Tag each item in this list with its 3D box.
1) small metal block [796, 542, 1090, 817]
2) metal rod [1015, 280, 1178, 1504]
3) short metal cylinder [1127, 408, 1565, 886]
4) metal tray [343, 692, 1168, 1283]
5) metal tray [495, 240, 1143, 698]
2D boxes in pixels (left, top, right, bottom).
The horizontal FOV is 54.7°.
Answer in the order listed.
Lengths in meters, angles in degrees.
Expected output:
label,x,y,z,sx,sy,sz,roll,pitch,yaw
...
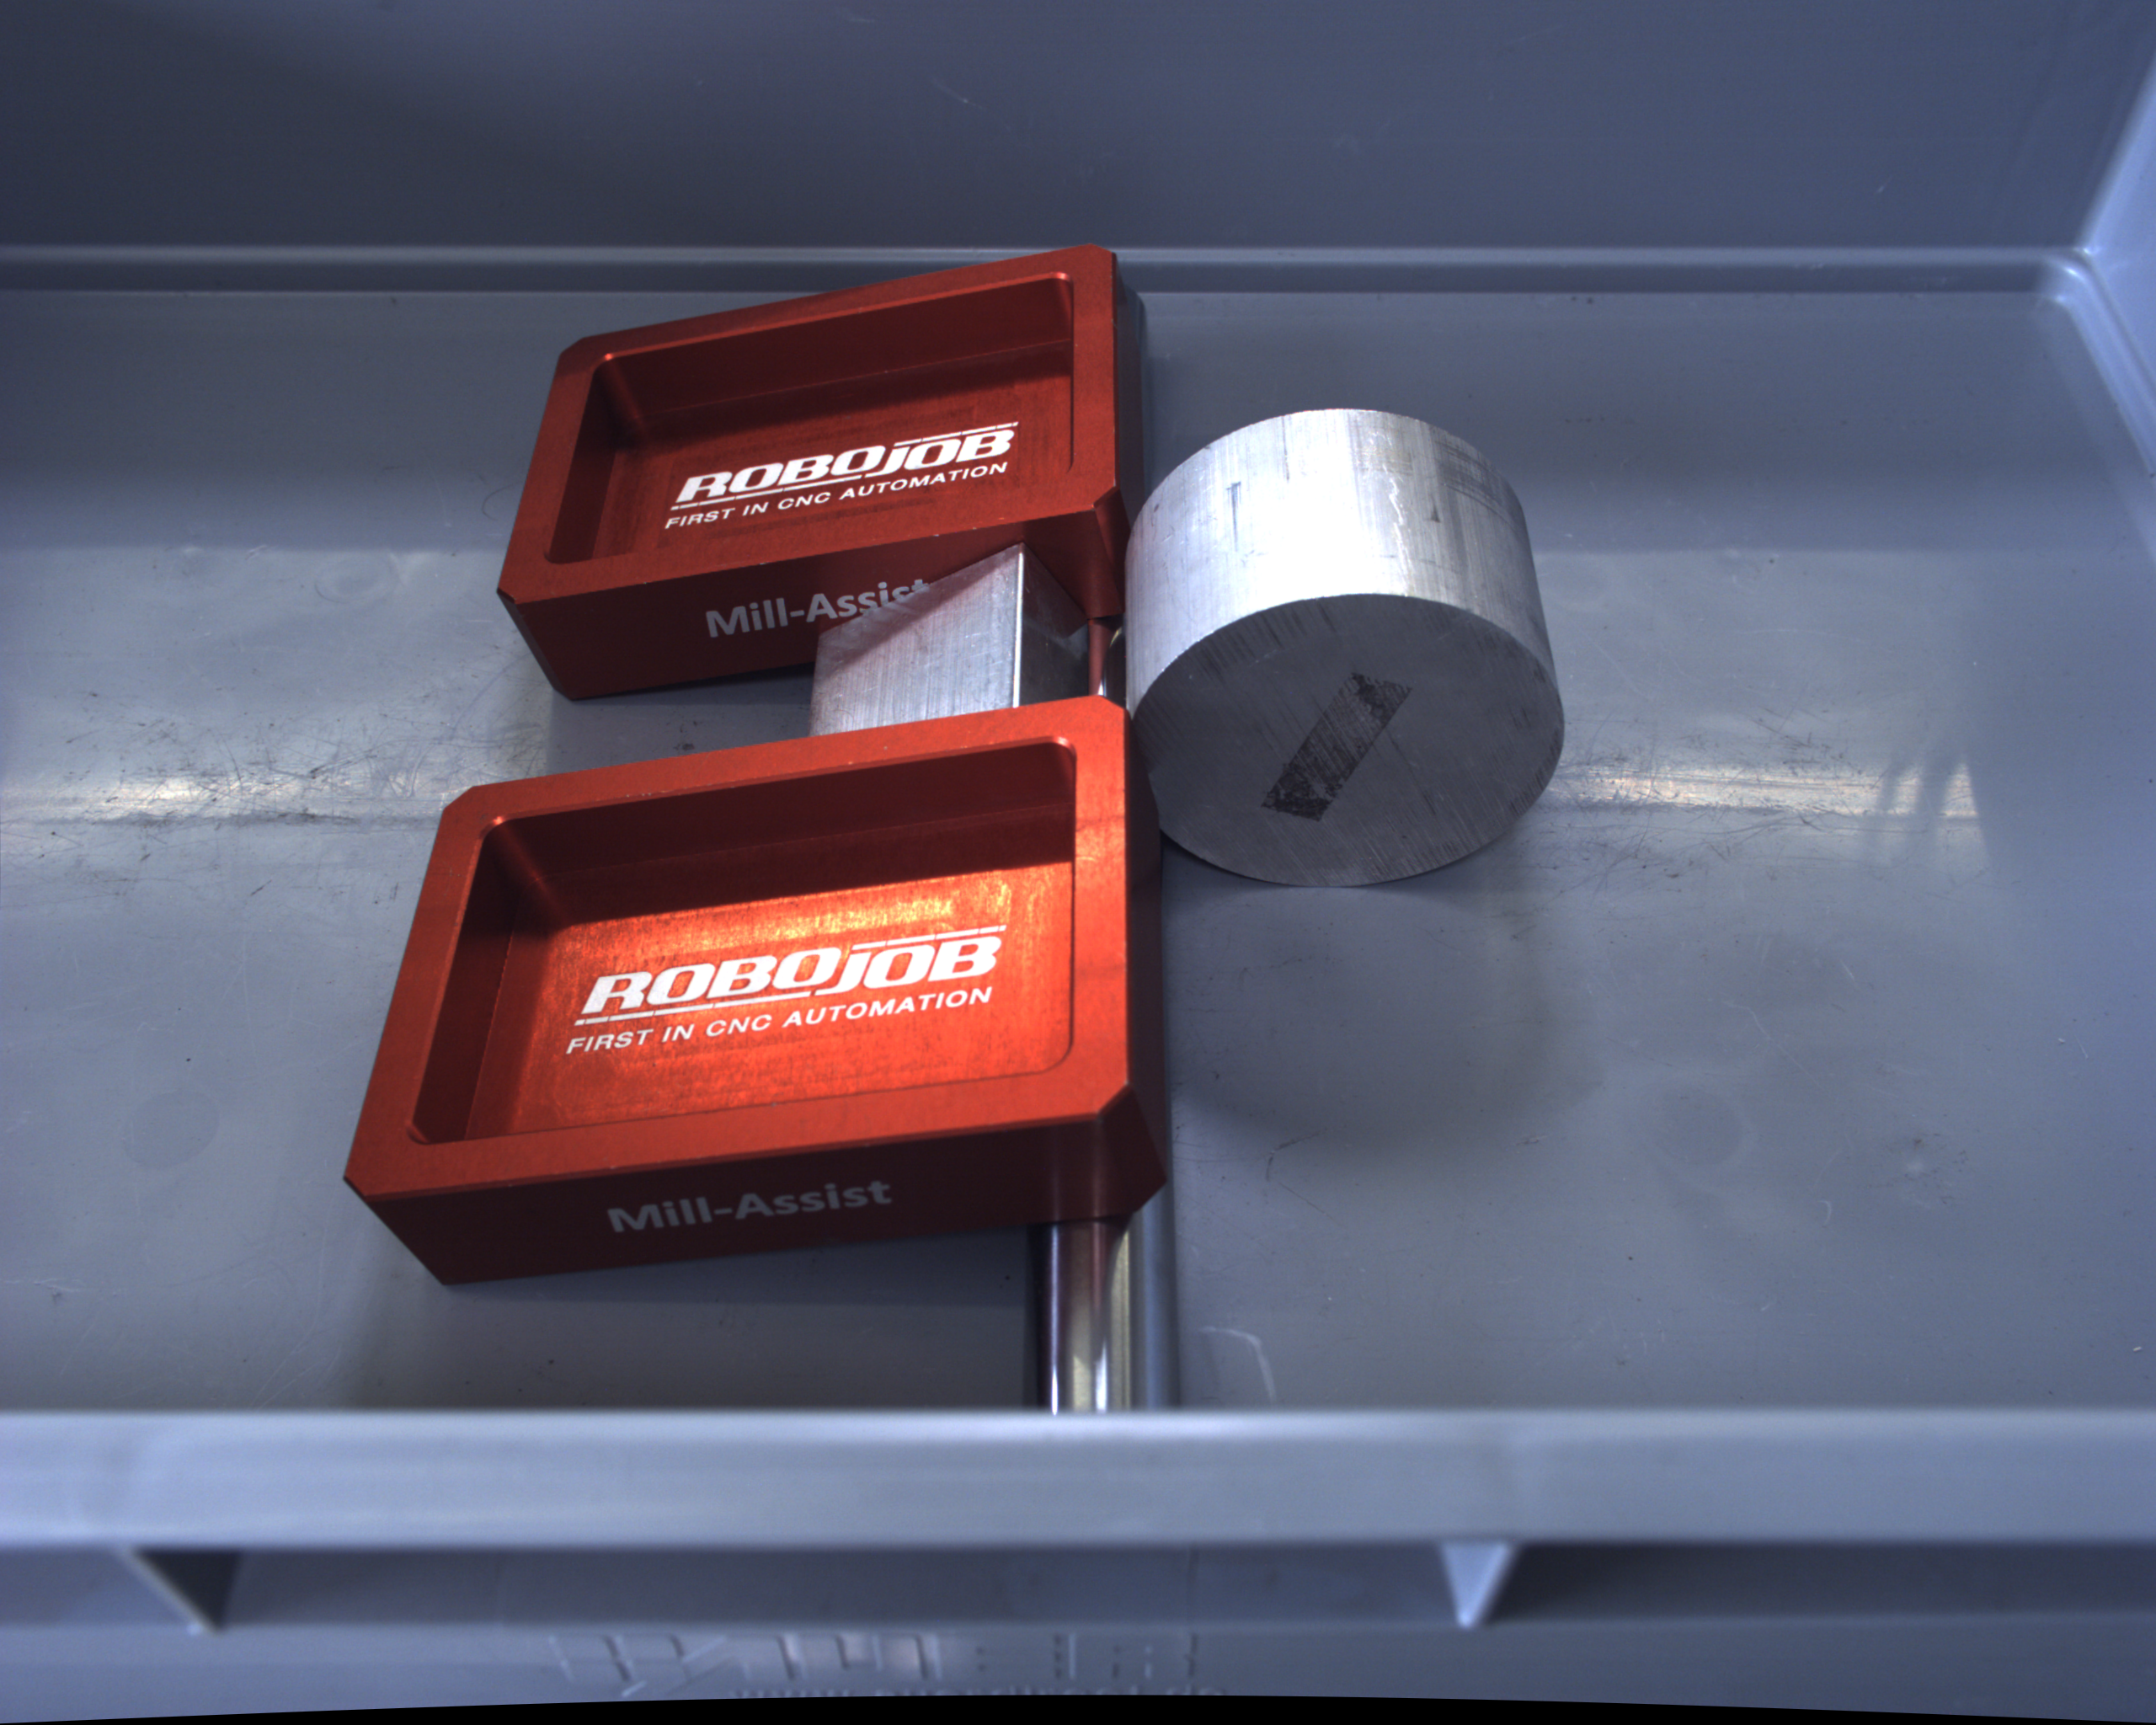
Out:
label,x,y,z,sx,sy,sz,roll,pitch,yaw
small metal block,-0.026,-0.029,0.413,0.050,0.025,0.050,-21,45,24
metal rod,0.004,-0.020,0.419,0.025,0.025,0.300,0,50,0
short metal cylinder,0.049,-0.040,0.401,0.081,0.080,0.050,0,50,0
metal tray,-0.052,0.021,0.364,0.131,0.030,0.090,-8,50,9
metal tray,-0.053,-0.086,0.454,0.131,0.030,0.090,-8,49,9
